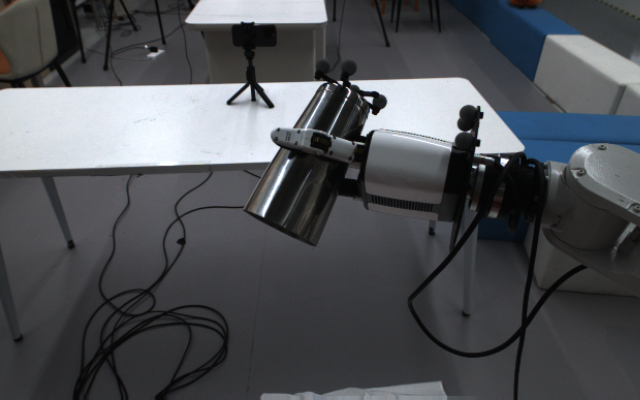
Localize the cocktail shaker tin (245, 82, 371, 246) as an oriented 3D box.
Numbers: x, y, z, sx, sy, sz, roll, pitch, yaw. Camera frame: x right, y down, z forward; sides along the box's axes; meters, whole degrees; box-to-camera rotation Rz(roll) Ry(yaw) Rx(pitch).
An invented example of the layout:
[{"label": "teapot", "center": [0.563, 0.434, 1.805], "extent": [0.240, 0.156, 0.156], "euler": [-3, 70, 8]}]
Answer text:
[{"label": "cocktail shaker tin", "center": [-0.006, -0.046, 0.551], "extent": [0.093, 0.093, 0.170], "euler": [21, 81, 25]}]
